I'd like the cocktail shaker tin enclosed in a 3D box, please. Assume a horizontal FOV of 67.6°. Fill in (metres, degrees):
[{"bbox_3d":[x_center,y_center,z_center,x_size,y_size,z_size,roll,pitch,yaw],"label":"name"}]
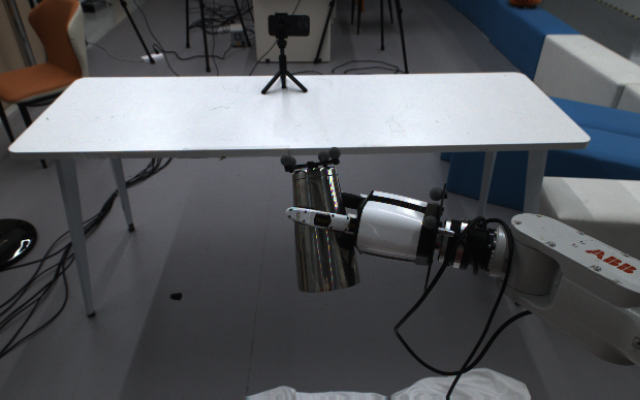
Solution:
[{"bbox_3d":[0.003,0.040,0.708,0.093,0.170,0.093,-8,1,0],"label":"cocktail shaker tin"}]
